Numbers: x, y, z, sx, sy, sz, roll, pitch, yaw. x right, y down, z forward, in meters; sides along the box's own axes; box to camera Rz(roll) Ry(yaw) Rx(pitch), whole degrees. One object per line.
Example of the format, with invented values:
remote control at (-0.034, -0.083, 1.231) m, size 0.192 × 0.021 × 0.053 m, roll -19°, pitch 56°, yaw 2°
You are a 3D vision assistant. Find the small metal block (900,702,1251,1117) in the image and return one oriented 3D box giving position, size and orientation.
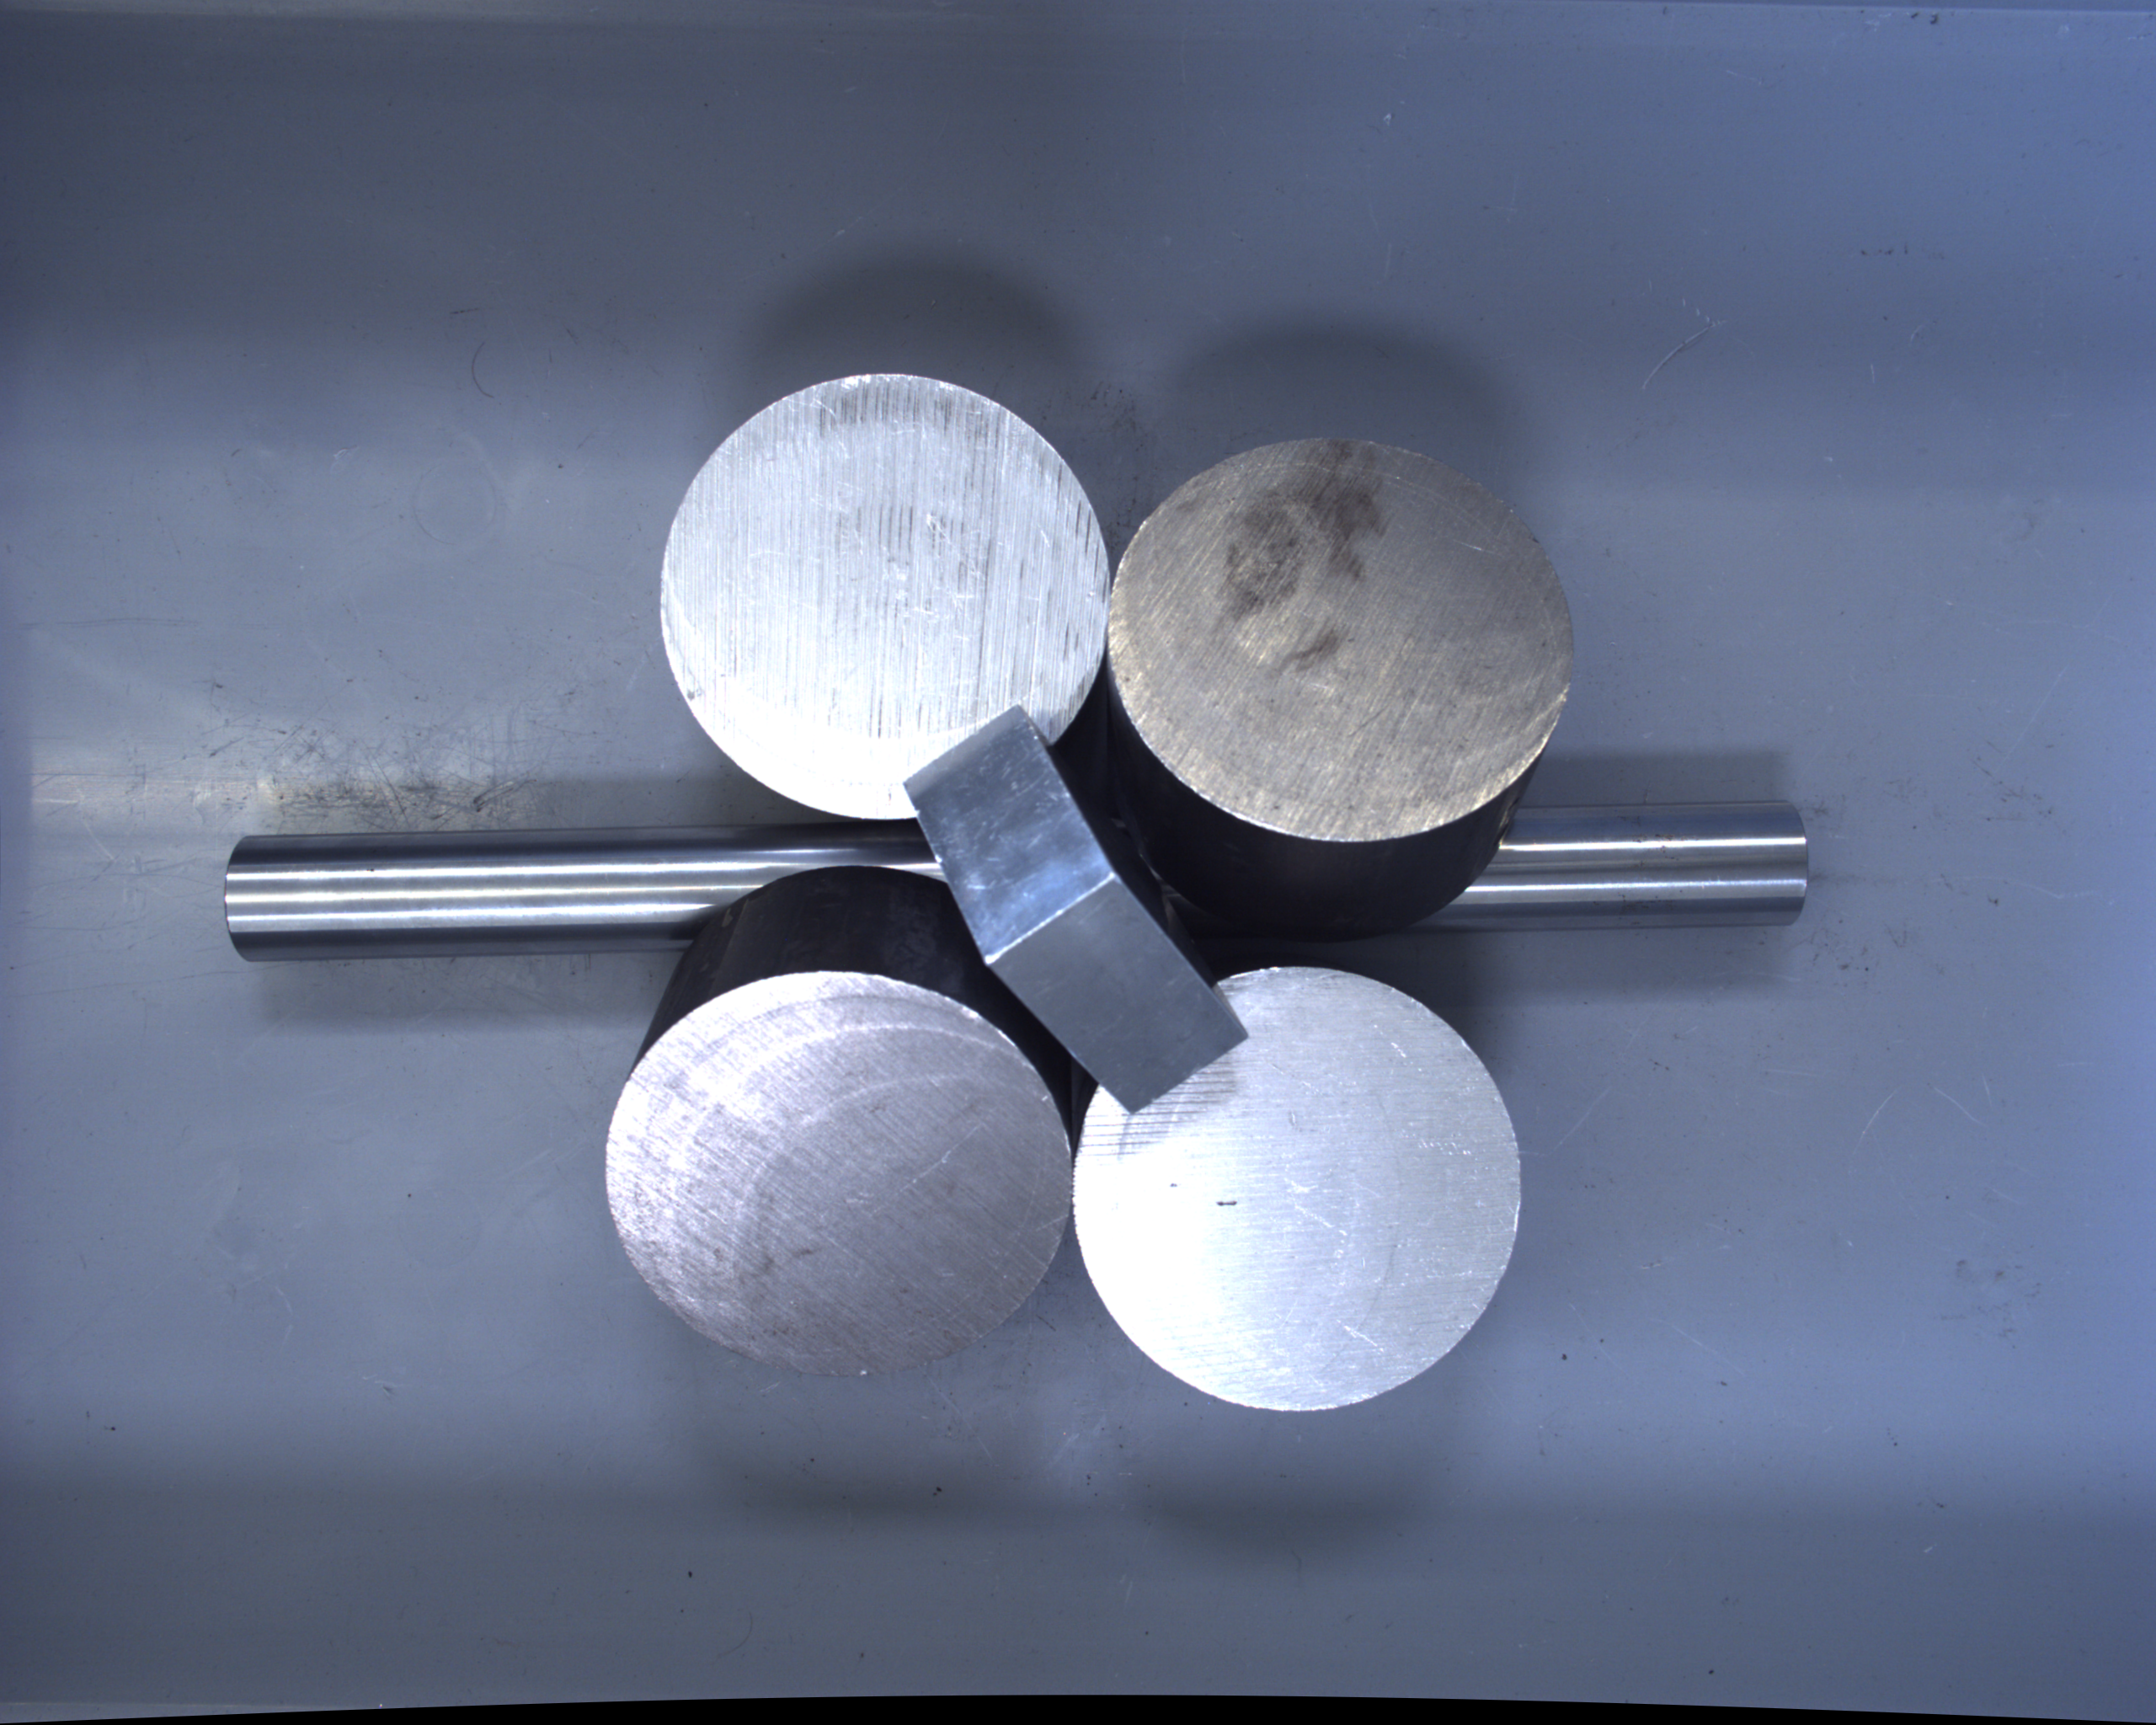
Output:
small metal block at (-0.001, 0.008, 0.362) m, size 0.025 × 0.050 × 0.050 m, roll -35°, pitch 132°, yaw 6°

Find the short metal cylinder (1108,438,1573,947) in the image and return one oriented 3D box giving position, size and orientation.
short metal cylinder at (0.046, -0.030, 0.384) m, size 0.081 × 0.050 × 0.080 m, roll 0°, pitch 67°, yaw 0°

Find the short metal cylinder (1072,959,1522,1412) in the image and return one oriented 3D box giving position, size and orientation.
short metal cylinder at (0.039, 0.058, 0.397) m, size 0.081 × 0.050 × 0.079 m, roll 0°, pitch 90°, yaw 0°

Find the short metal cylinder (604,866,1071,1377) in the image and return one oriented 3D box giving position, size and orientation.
short metal cylinder at (-0.042, 0.047, 0.385) m, size 0.081 × 0.050 × 0.079 m, roll 0°, pitch 110°, yaw -1°

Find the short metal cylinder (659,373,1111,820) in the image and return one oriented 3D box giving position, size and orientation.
short metal cylinder at (-0.034, -0.048, 0.397) m, size 0.081 × 0.050 × 0.079 m, roll 0°, pitch 90°, yaw 0°

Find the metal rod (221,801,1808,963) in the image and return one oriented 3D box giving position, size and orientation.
metal rod at (-0.012, 0.004, 0.409) m, size 0.302 × 0.025 × 0.025 m, roll -1°, pitch 90°, yaw 0°
